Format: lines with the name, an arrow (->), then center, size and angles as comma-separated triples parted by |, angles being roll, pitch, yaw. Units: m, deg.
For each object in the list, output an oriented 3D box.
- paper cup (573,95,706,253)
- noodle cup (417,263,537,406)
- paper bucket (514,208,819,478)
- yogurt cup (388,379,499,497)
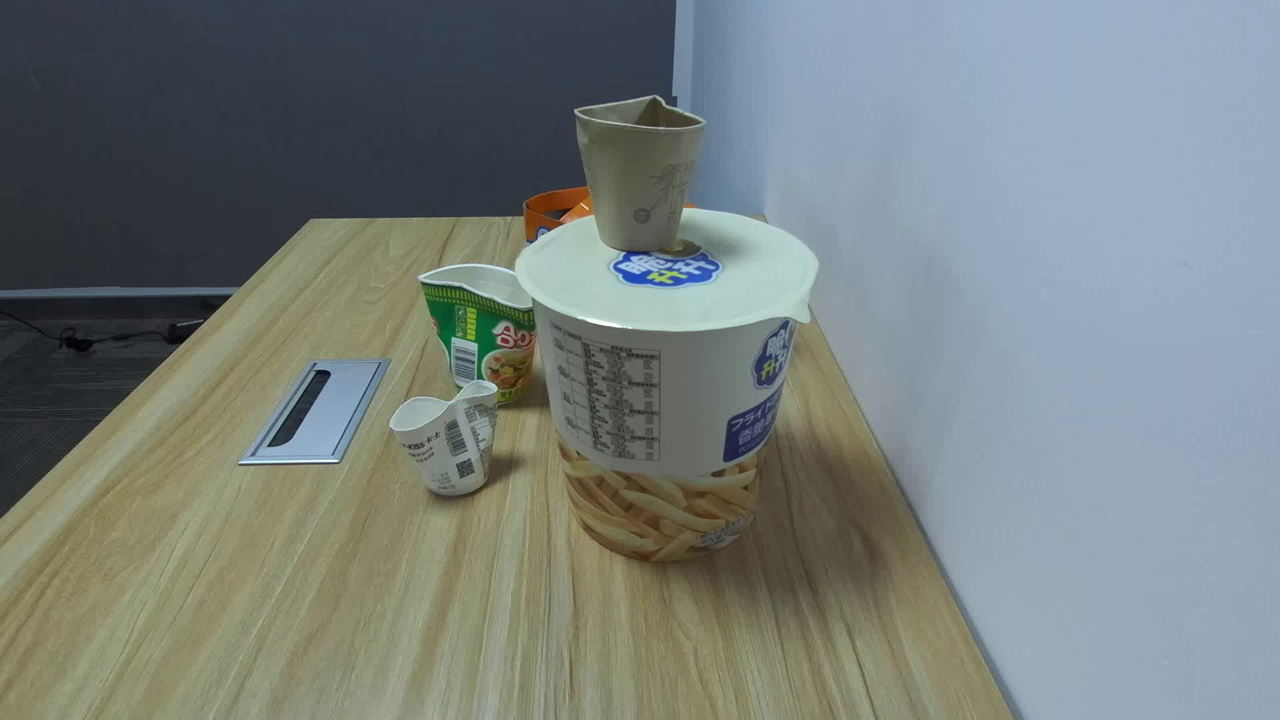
paper cup -> -0.002, -0.117, 0.453 | 0.066, 0.084, 0.071 | -18, 39, -25
noodle cup -> -0.138, -0.021, 0.637 | 0.070, 0.111, 0.114 | -27, 43, -37
paper bucket -> 0.018, 0.017, 0.496 | 0.198, 0.195, 0.198 | 0, 32, 0
yogurt cup -> -0.146, 0.061, 0.544 | 0.053, 0.071, 0.075 | 14, 35, 19
